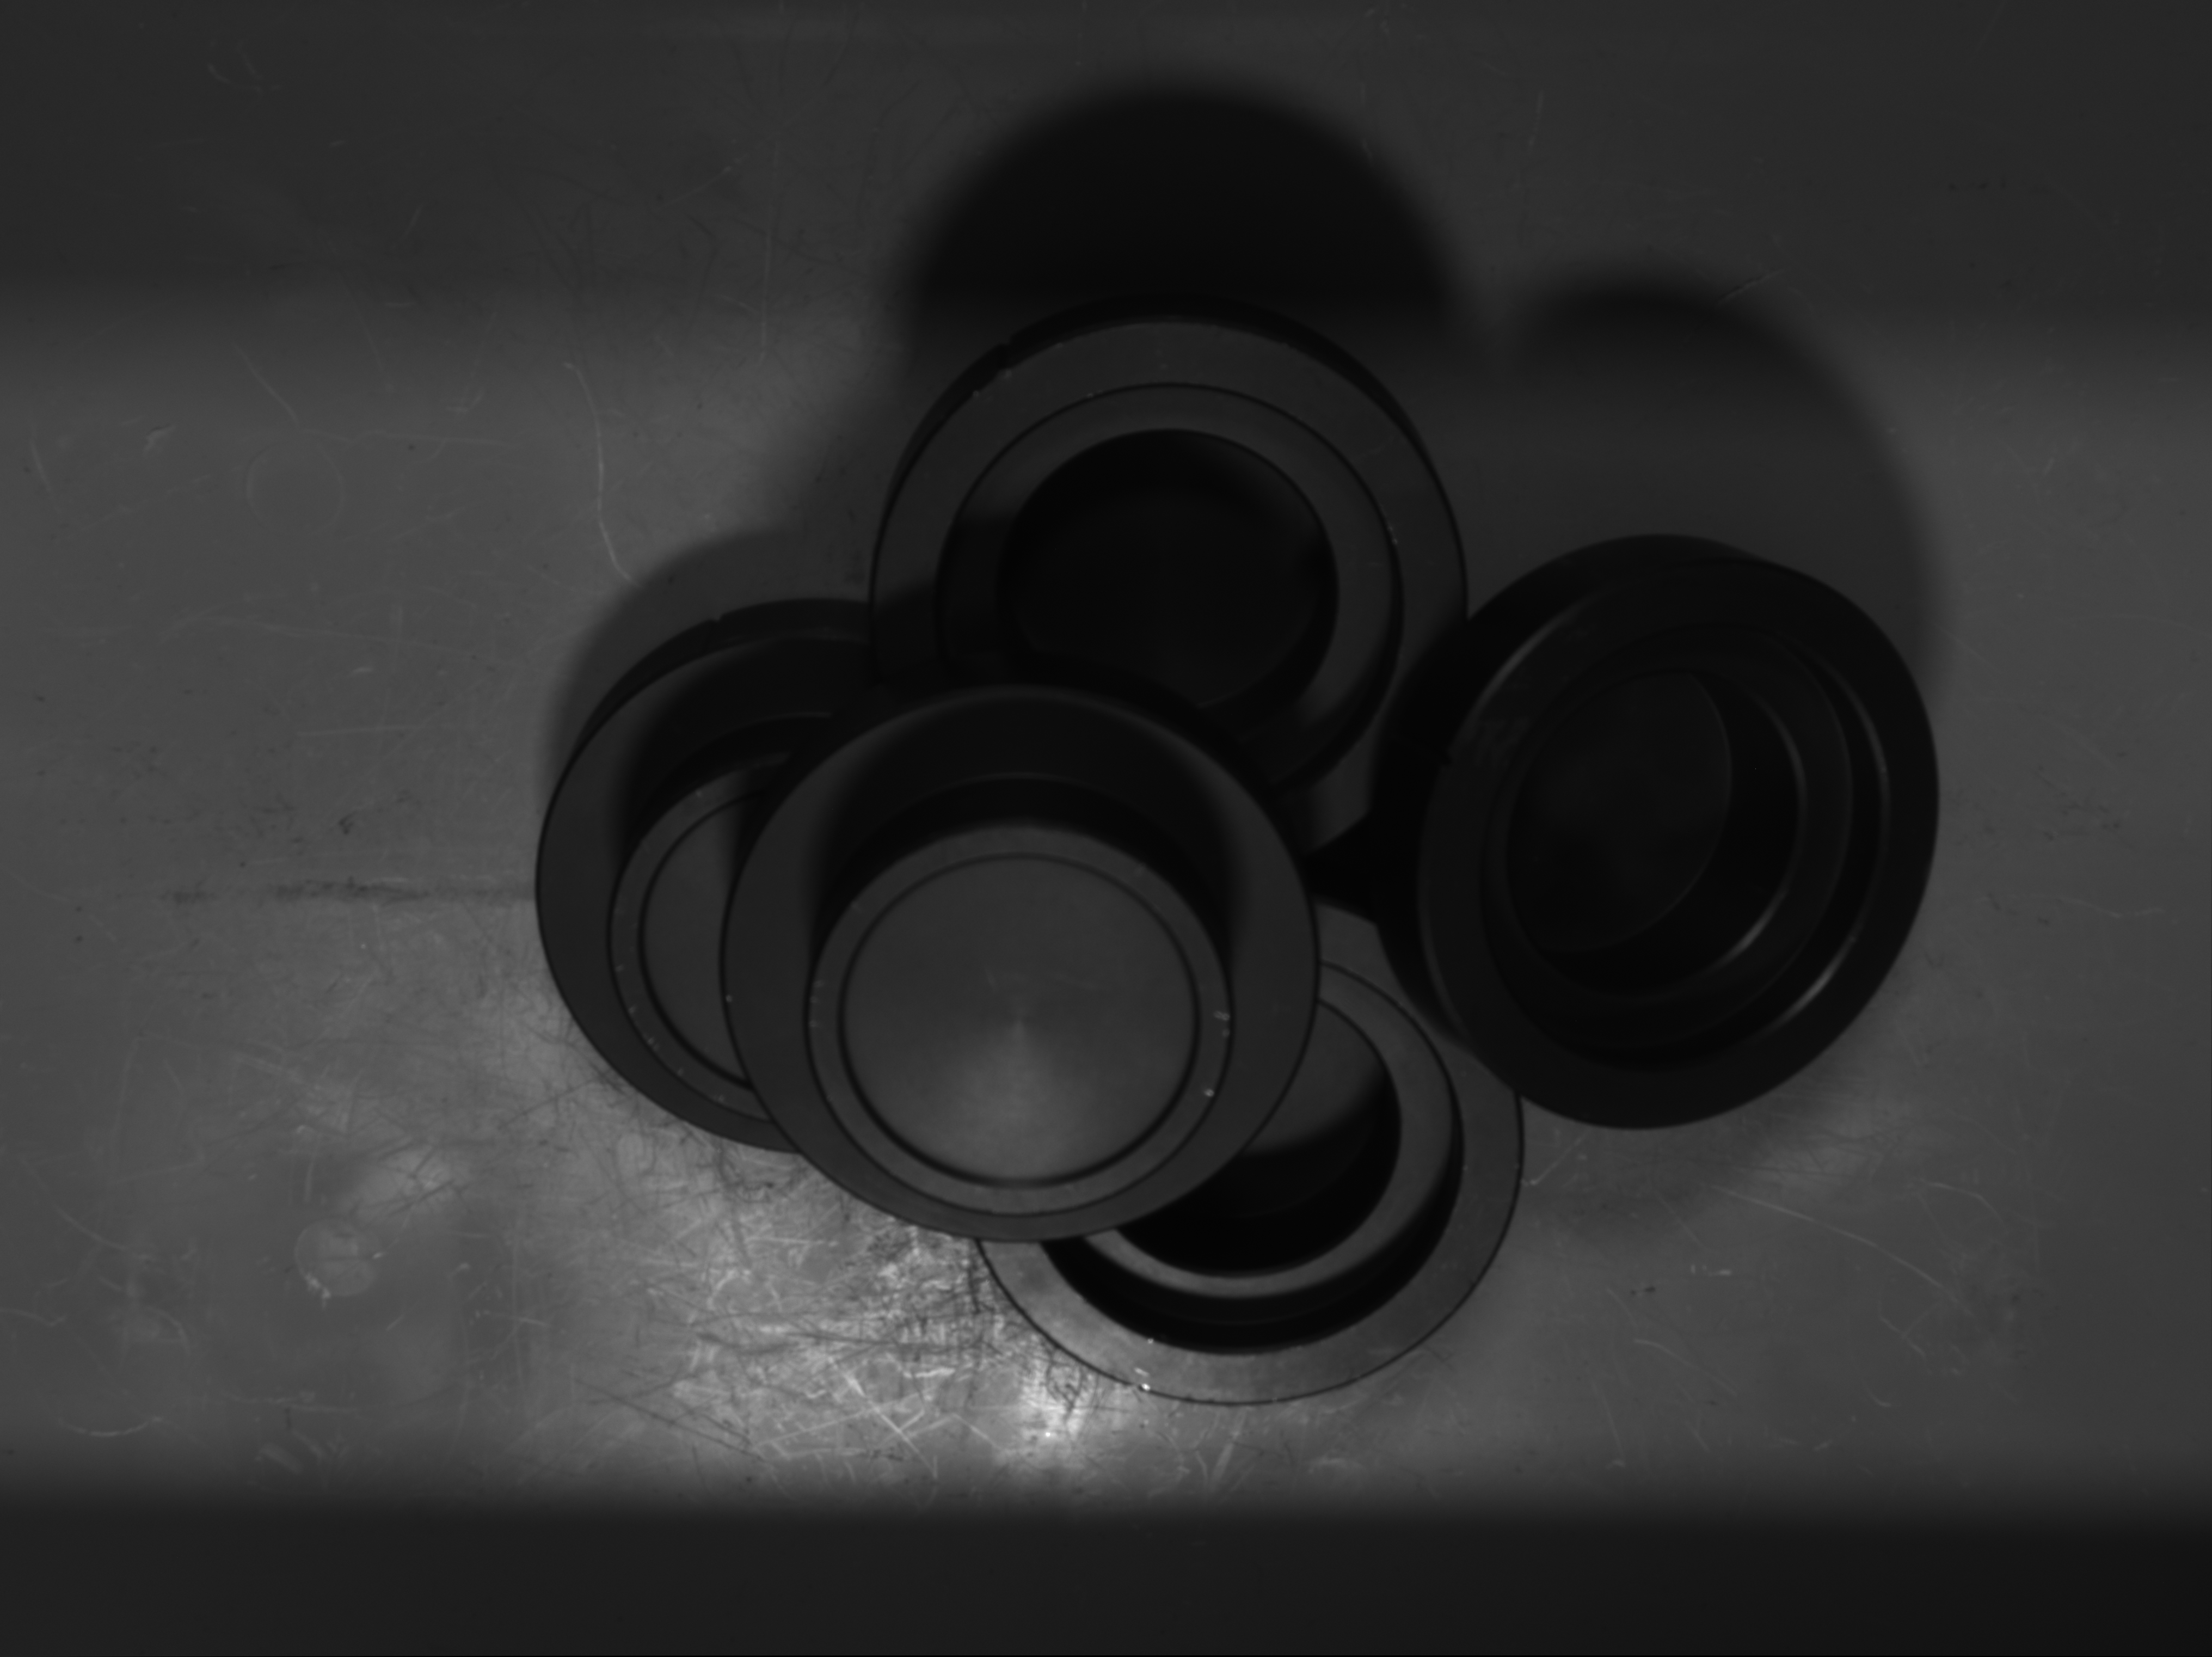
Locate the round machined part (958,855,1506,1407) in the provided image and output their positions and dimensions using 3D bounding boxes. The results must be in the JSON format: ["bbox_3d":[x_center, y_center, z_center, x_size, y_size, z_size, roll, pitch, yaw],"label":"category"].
[{"bbox_3d":[0.020,0.050,0.651,0.098,0.042,0.098,0,110,-1],"label":"round machined part"}]

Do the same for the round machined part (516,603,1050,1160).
[{"bbox_3d":[-0.053,0.014,0.635,0.098,0.042,0.098,0,110,-1],"label":"round machined part"}]

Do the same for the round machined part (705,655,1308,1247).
[{"bbox_3d":[-0.016,0.024,0.595,0.098,0.042,0.098,0,110,-1],"label":"round machined part"}]

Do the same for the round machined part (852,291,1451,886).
[{"bbox_3d":[0.007,-0.042,0.618,0.098,0.042,0.098,0,110,-1],"label":"round machined part"}]

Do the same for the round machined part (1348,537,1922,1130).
[{"bbox_3d":[0.085,-0.002,0.622,0.098,0.042,0.098,-6,108,-20],"label":"round machined part"}]
